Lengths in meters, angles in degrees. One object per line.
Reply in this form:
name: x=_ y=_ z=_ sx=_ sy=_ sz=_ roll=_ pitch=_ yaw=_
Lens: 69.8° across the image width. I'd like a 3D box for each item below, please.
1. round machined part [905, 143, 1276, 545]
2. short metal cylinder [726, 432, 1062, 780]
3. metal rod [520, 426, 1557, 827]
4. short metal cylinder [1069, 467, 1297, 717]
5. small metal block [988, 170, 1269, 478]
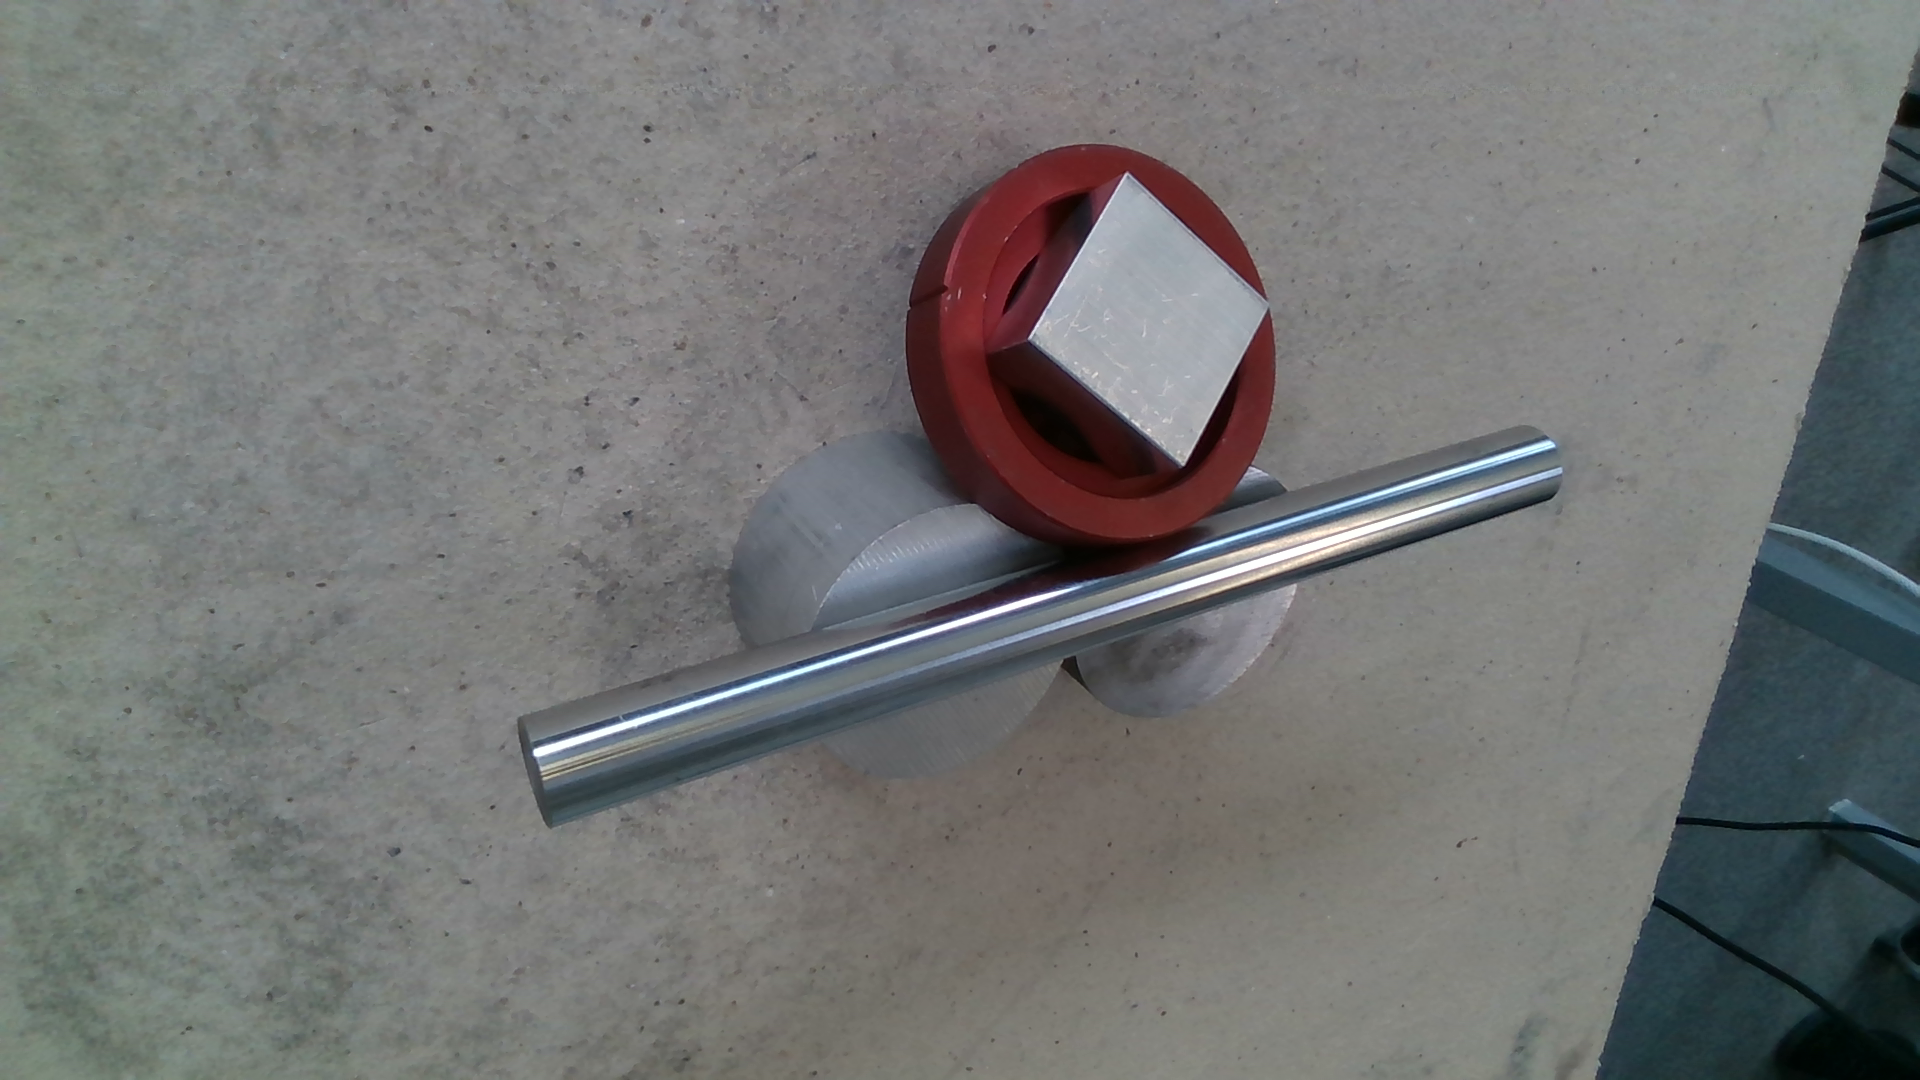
round machined part: x=0.030 y=-0.047 z=0.355 sx=0.098 sy=0.042 sz=0.098 roll=2 pitch=85 yaw=-27
short metal cylinder: x=-0.016 y=0.017 z=0.372 sx=0.080 sy=0.050 sz=0.080 roll=-15 pitch=122 yaw=-26
metal rod: x=0.041 y=0.013 z=0.358 sx=0.300 sy=0.025 sz=0.025 roll=-15 pitch=122 yaw=-25
short metal cylinder: x=0.054 y=0.005 z=0.410 sx=0.080 sy=0.050 sz=0.080 roll=-14 pitch=122 yaw=-25
small metal block: x=0.040 y=-0.051 z=0.335 sx=0.050 sy=0.025 sz=0.050 roll=37 pitch=71 yaw=-20
